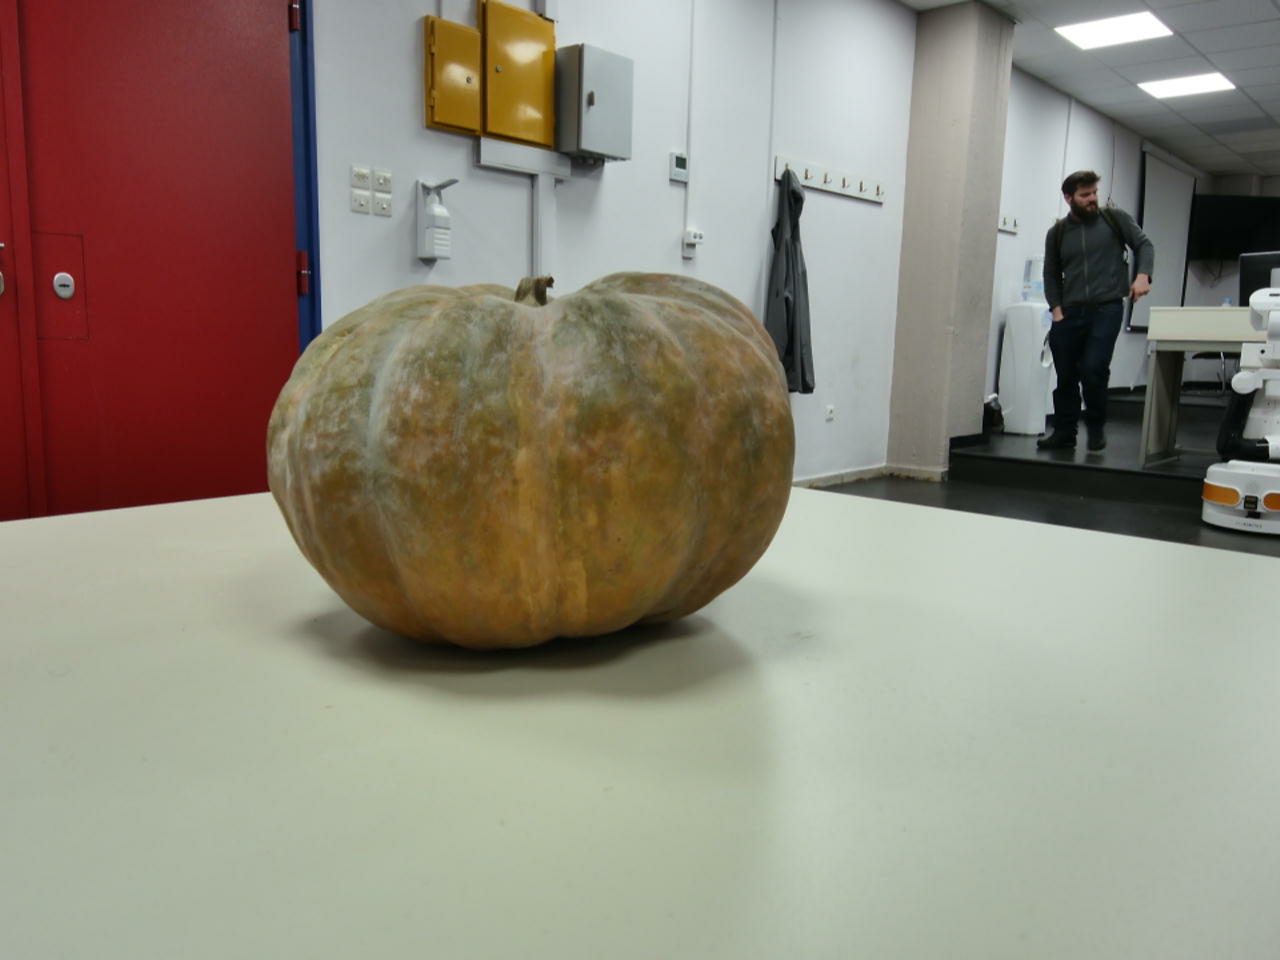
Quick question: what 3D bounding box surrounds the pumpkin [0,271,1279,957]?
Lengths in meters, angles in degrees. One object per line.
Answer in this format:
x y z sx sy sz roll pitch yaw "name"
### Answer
-0.050 -0.016 0.481 0.252 0.168 0.252 0 7 0 "pumpkin"
